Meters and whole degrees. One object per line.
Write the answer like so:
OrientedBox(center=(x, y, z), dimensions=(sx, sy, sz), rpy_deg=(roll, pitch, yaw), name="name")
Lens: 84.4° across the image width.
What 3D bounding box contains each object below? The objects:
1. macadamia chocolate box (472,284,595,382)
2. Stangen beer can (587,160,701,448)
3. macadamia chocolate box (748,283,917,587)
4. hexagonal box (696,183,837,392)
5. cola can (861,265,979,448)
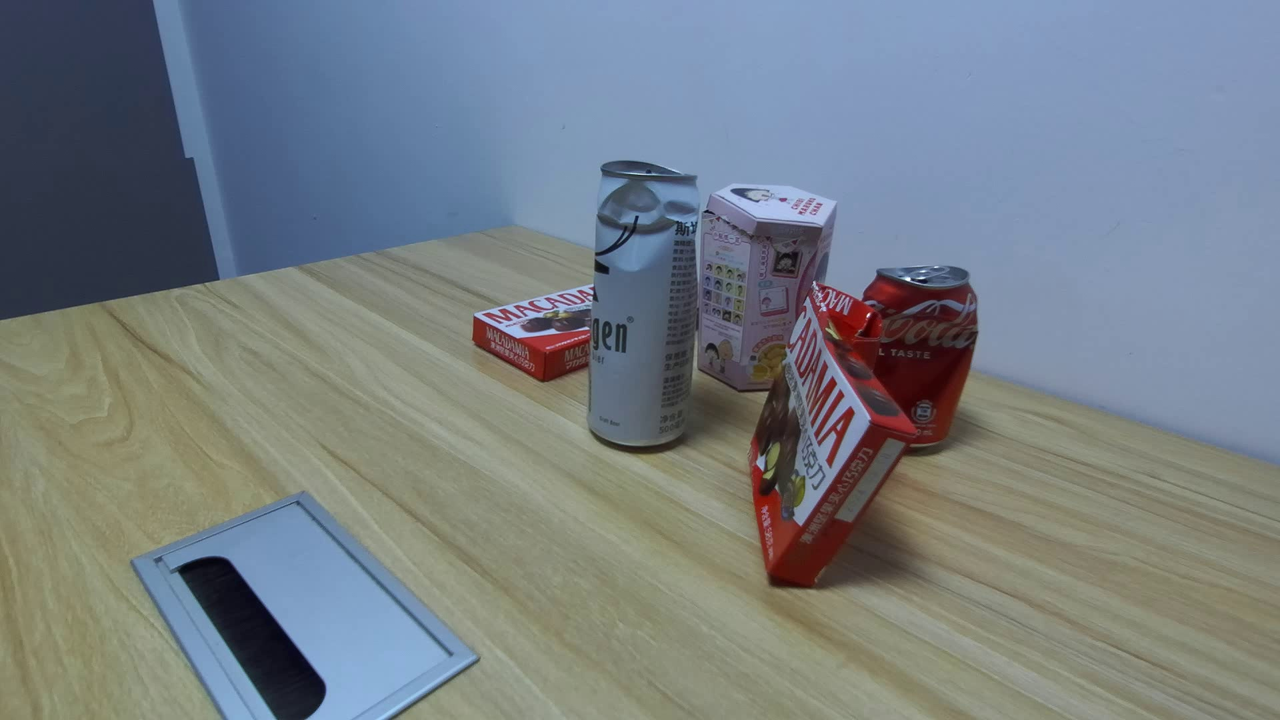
OrientedBox(center=(-0.032, -0.034, 0.588), dimensions=(0.187, 0.027, 0.102), rpy_deg=(-22, 36, -39), name="macadamia chocolate box")
OrientedBox(center=(0.002, -0.030, 0.423), dimensions=(0.066, 0.166, 0.066), rpy_deg=(7, 24, 10), name="Stangen beer can")
OrientedBox(center=(0.093, 0.034, 0.365), dimensions=(0.056, 0.112, 0.126), rpy_deg=(5, 26, 4), name="macadamia chocolate box")
OrientedBox(center=(0.089, -0.054, 0.517), dimensions=(0.085, 0.135, 0.092), rpy_deg=(13, 26, 21), name="hexagonal box")
OrientedBox(center=(0.170, -0.003, 0.444), dimensions=(0.069, 0.112, 0.066), rpy_deg=(11, 26, 17), name="cola can")
